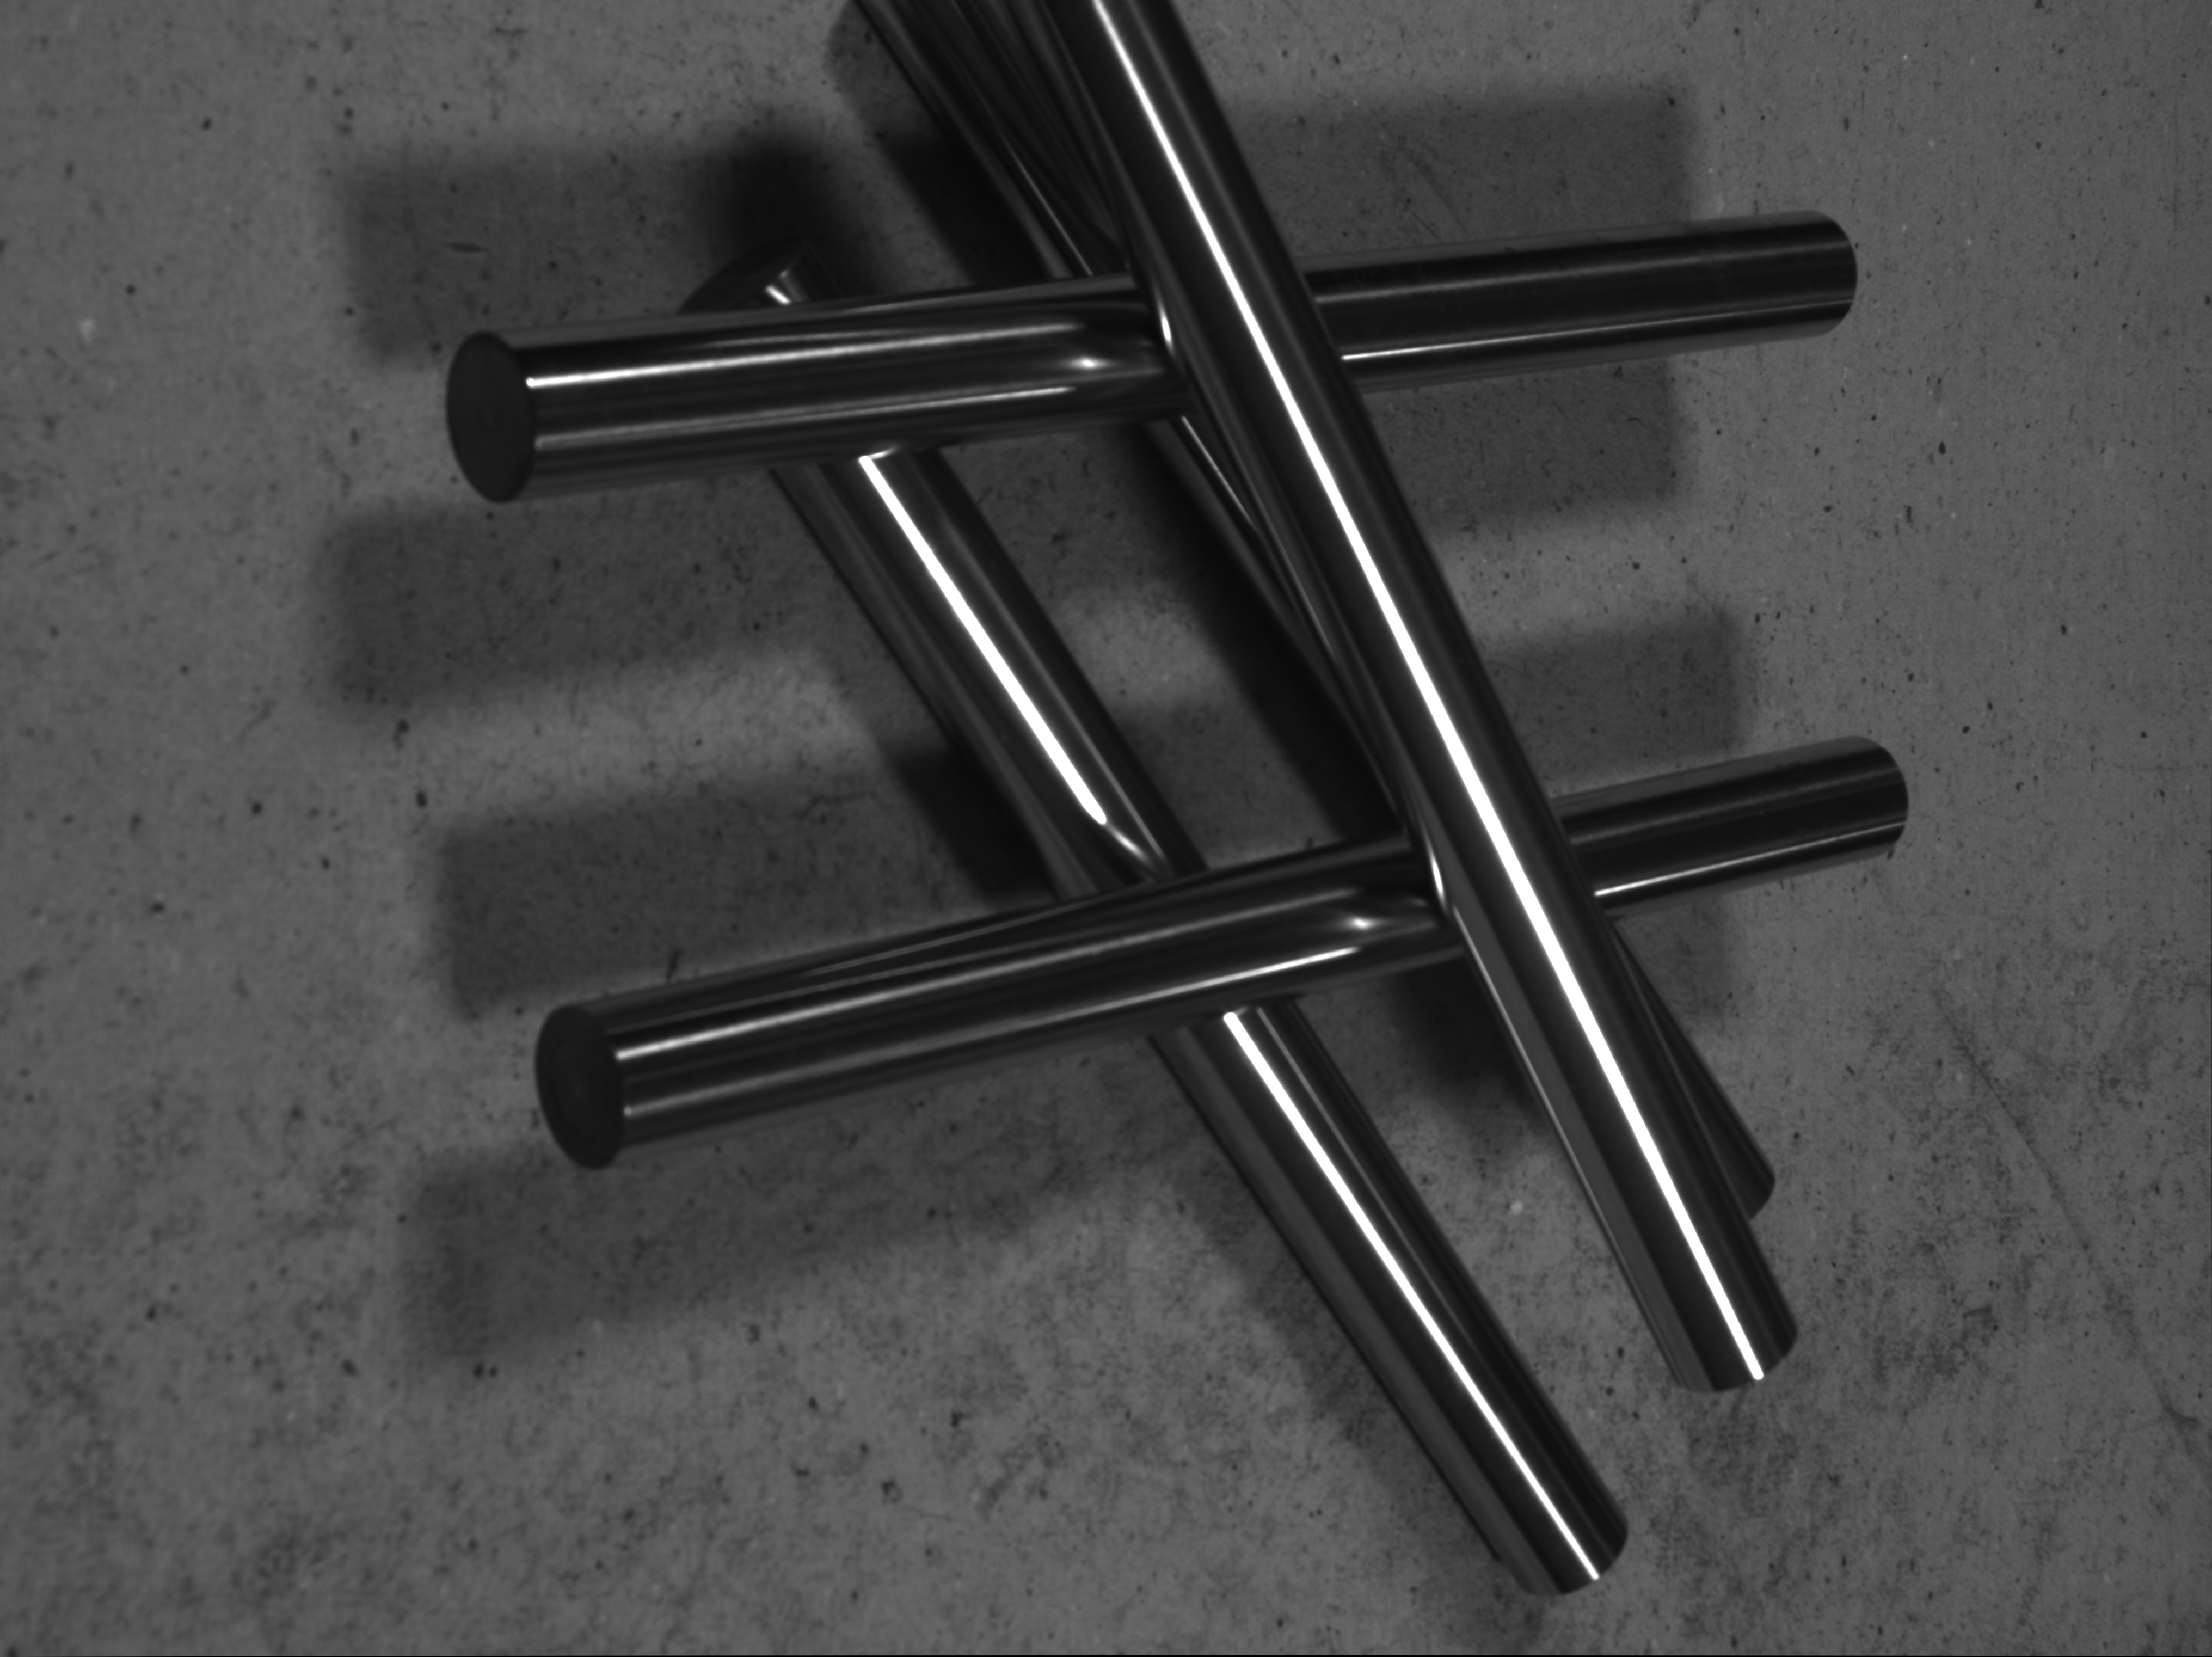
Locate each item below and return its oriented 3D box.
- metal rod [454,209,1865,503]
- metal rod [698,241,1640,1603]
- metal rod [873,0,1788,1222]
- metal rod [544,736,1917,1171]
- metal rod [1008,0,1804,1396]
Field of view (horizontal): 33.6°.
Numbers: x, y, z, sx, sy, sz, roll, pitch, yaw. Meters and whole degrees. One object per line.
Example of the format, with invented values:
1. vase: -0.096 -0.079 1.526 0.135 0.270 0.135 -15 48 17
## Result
1. metal rod: 0.026 -0.085 0.627 0.301 0.025 0.025 -12 98 -39
2. metal rod: 0.018 0.027 0.651 0.025 0.025 0.300 -48 118 -29
3. metal rod: 0.049 -0.036 0.678 0.025 0.025 0.301 -50 119 -28
4. metal rod: 0.038 0.016 0.637 0.301 0.025 0.025 -11 97 -39
5. metal rod: 0.051 -0.028 0.616 0.025 0.025 0.300 -42 115 -32
